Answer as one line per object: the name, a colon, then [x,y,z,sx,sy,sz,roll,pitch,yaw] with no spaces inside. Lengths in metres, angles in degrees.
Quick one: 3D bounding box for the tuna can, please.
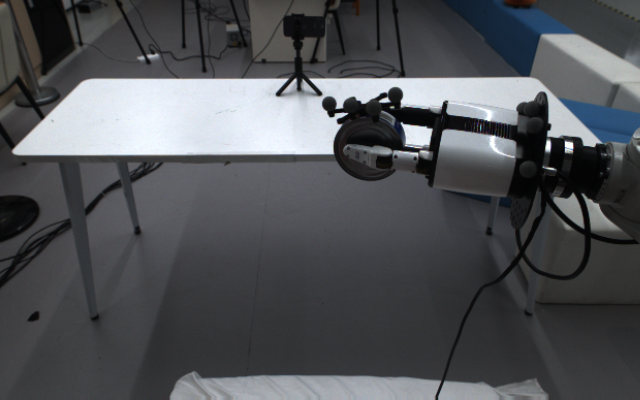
tuna can: [0.063,-0.069,0.597,0.085,0.085,0.034,10,33,11]
